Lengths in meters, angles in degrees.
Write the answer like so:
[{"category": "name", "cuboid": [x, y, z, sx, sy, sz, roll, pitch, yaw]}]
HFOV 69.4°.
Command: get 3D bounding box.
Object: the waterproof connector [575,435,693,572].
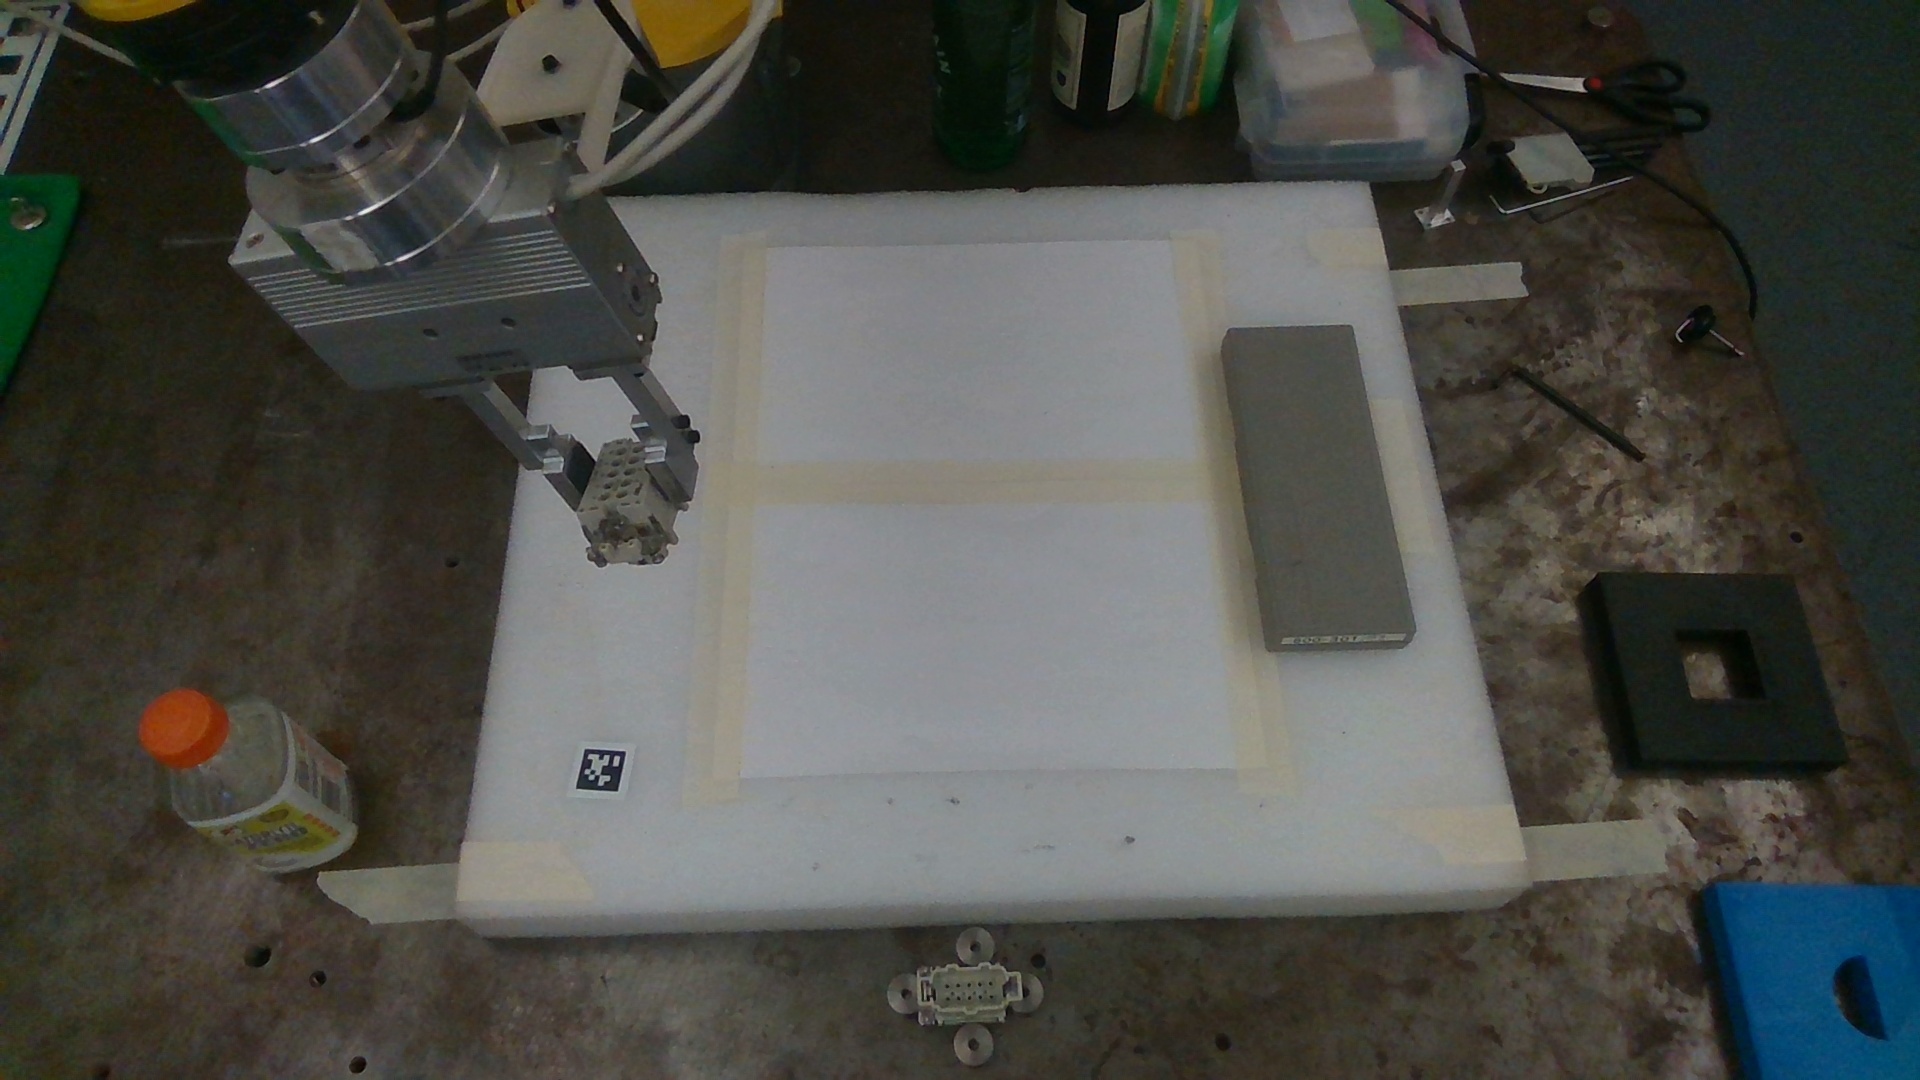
[{"category": "waterproof connector", "cuboid": [-0.142, -0.016, 0.610, 0.037, 0.038, 0.069, -7, 41, 11]}]
